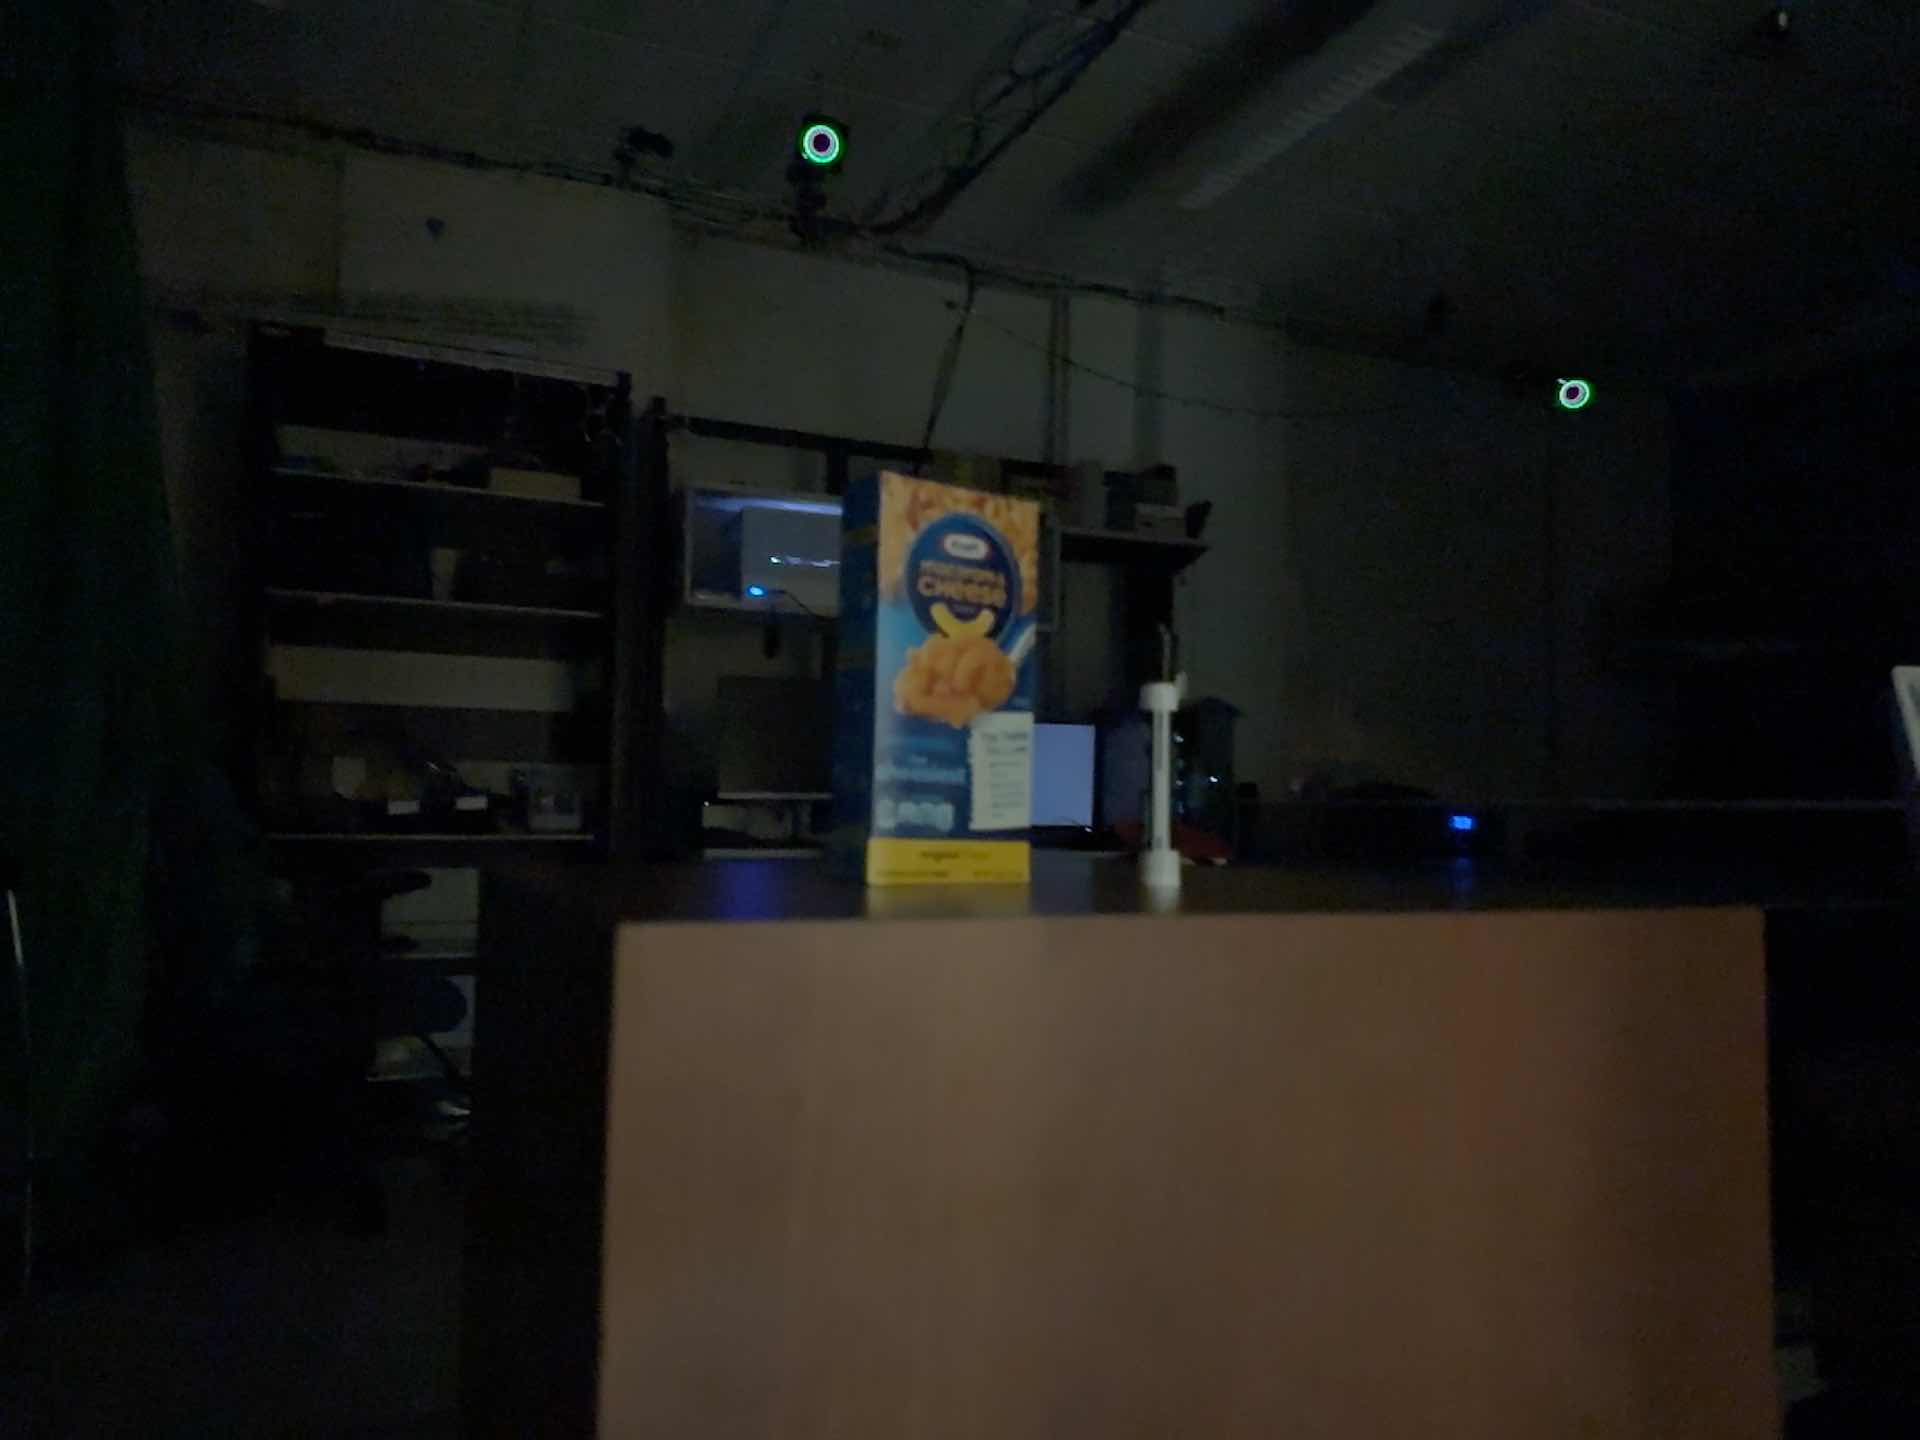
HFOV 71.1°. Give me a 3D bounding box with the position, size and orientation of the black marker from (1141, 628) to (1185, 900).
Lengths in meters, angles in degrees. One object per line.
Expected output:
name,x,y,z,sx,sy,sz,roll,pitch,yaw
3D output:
black marker,0.091,0.019,0.603,0.020,0.121,0.020,1,-3,0

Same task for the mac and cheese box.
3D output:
mac and cheese box,-0.010,-0.016,0.616,0.088,0.181,0.035,3,-3,-30
